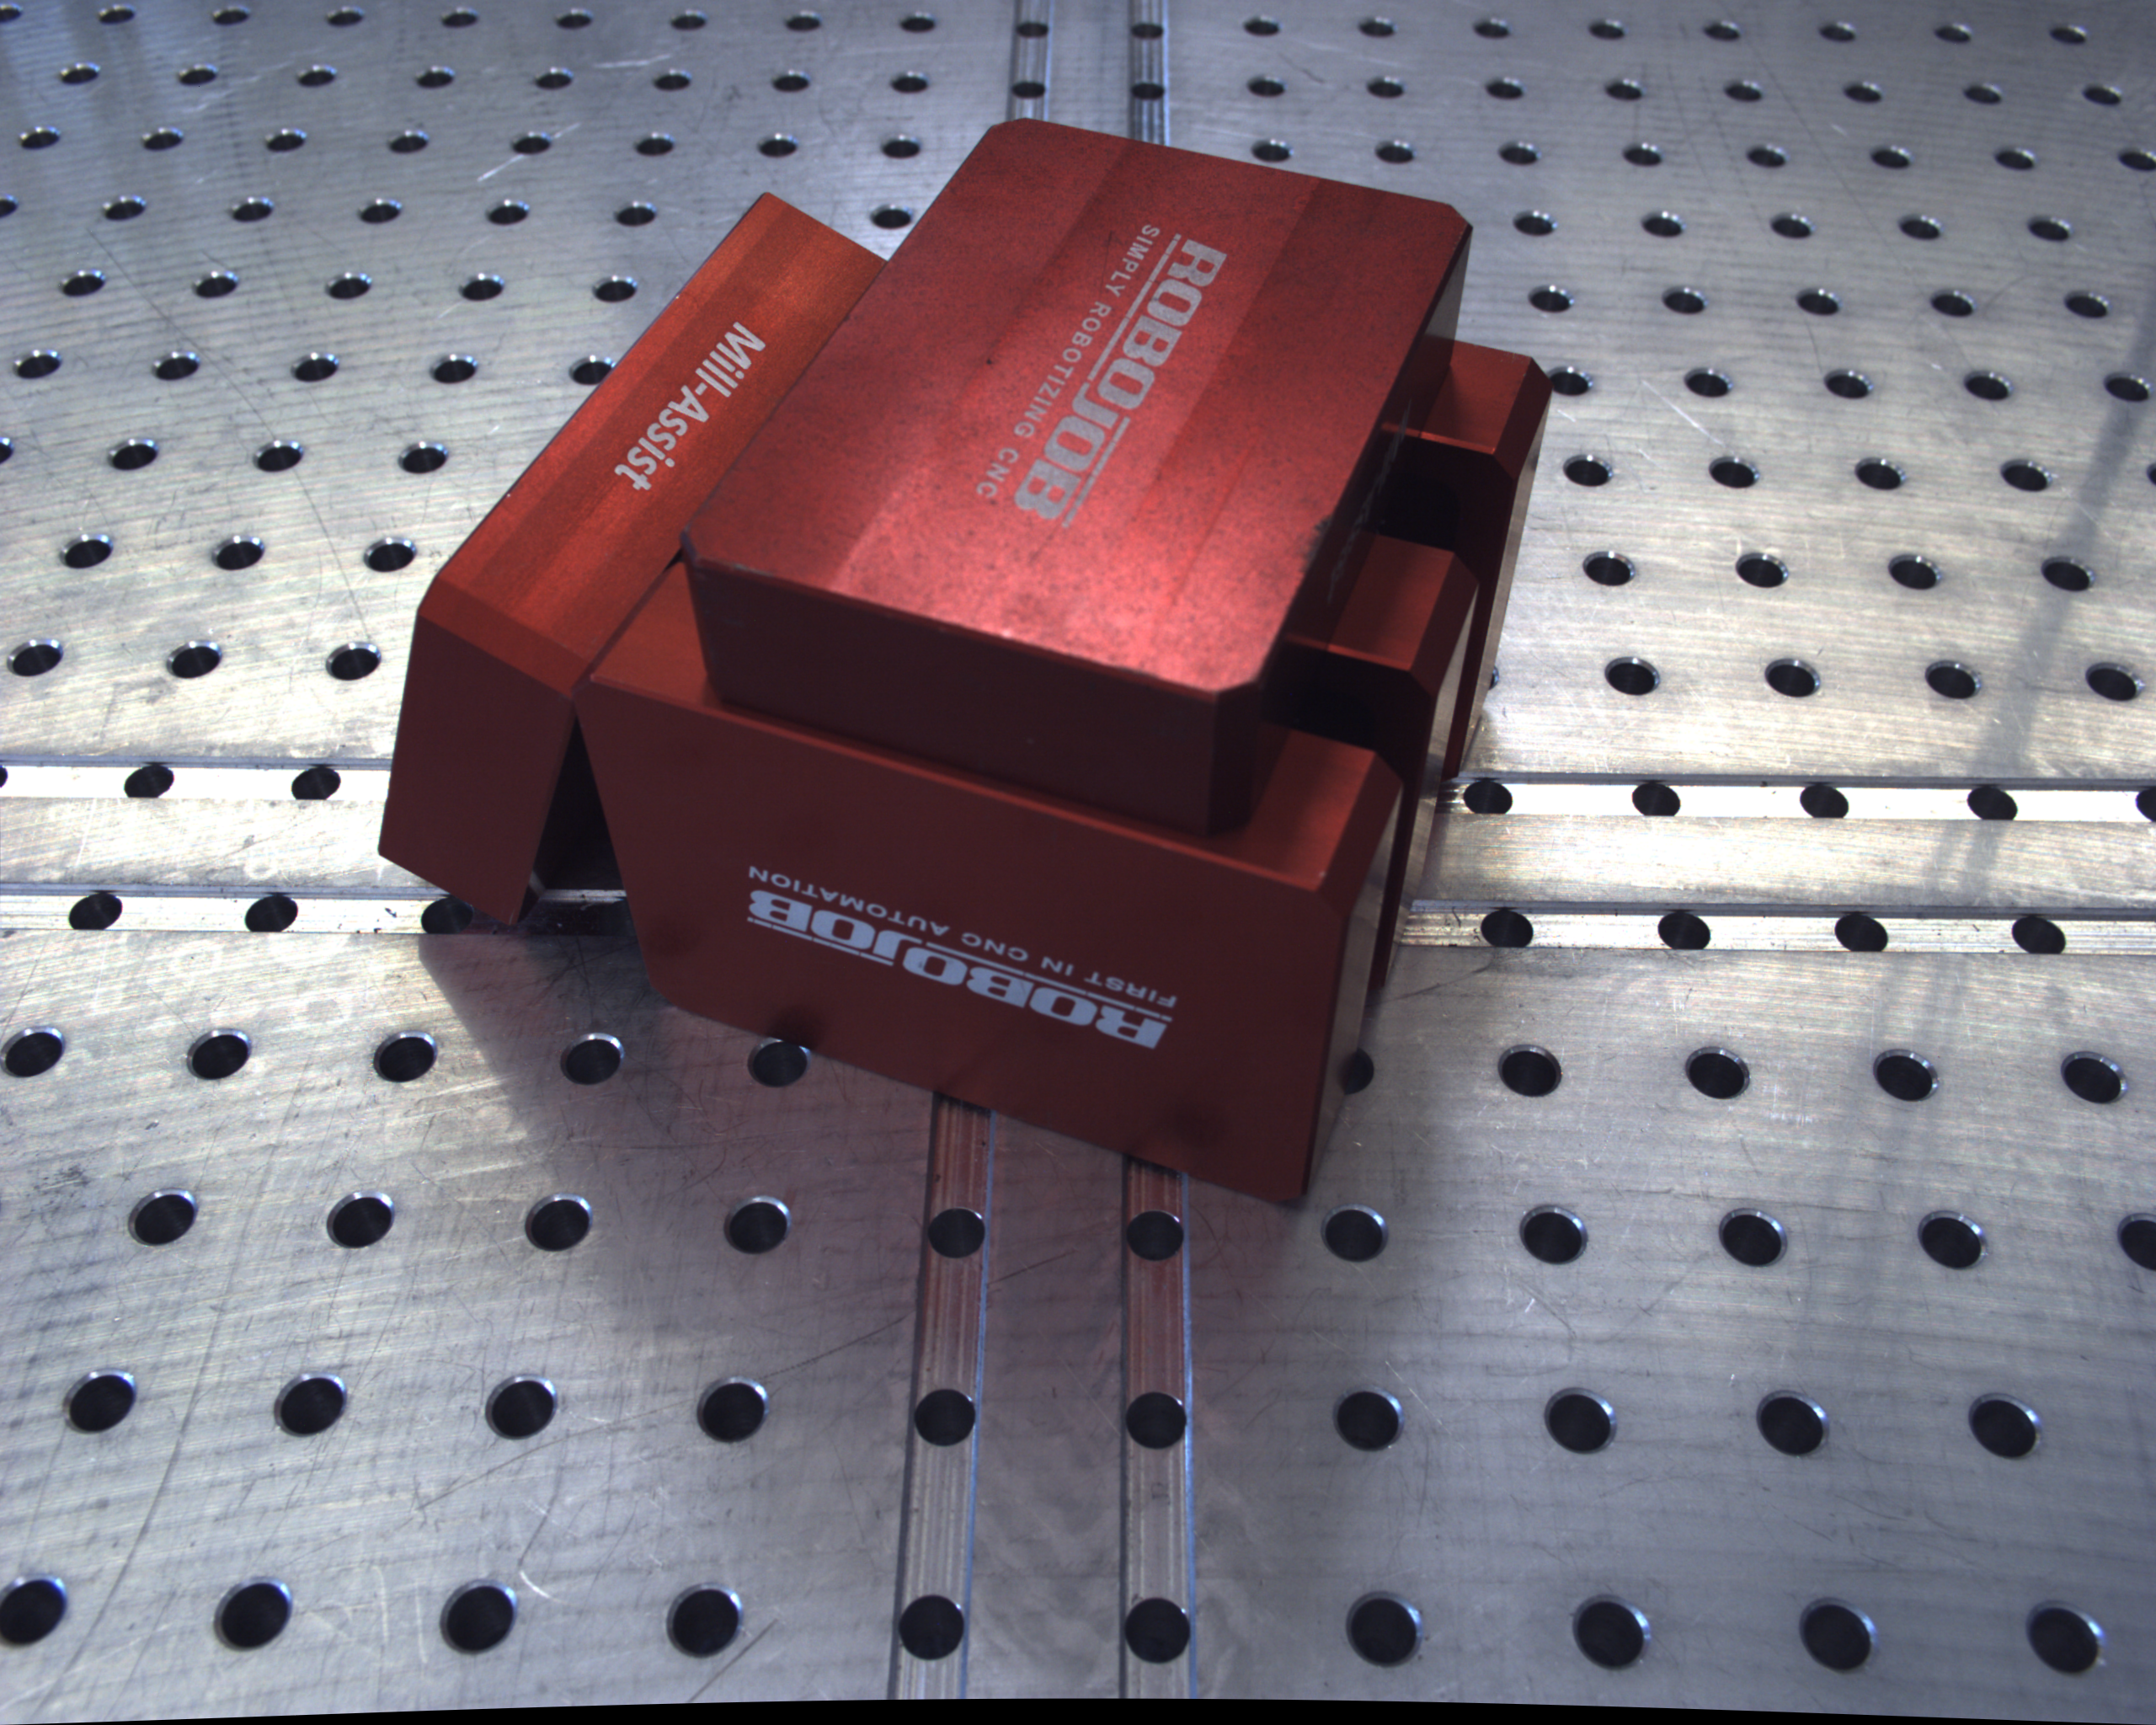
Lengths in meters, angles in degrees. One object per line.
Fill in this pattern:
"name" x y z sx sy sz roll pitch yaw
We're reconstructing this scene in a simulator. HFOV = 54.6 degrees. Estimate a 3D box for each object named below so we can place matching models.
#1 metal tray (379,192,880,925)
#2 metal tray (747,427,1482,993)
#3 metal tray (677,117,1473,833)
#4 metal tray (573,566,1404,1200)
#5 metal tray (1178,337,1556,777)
"metal tray" -0.086 -0.061 0.413 0.030 0.090 0.130 30 53 -4
"metal tray" 0.001 -0.029 0.388 0.130 0.090 0.030 16 51 12
"metal tray" 0.005 -0.070 0.346 0.090 0.030 0.130 16 52 13
"metal tray" -0.015 0.005 0.361 0.130 0.090 0.030 17 52 13
"metal tray" 0.023 -0.072 0.425 0.130 0.090 0.030 16 53 13
